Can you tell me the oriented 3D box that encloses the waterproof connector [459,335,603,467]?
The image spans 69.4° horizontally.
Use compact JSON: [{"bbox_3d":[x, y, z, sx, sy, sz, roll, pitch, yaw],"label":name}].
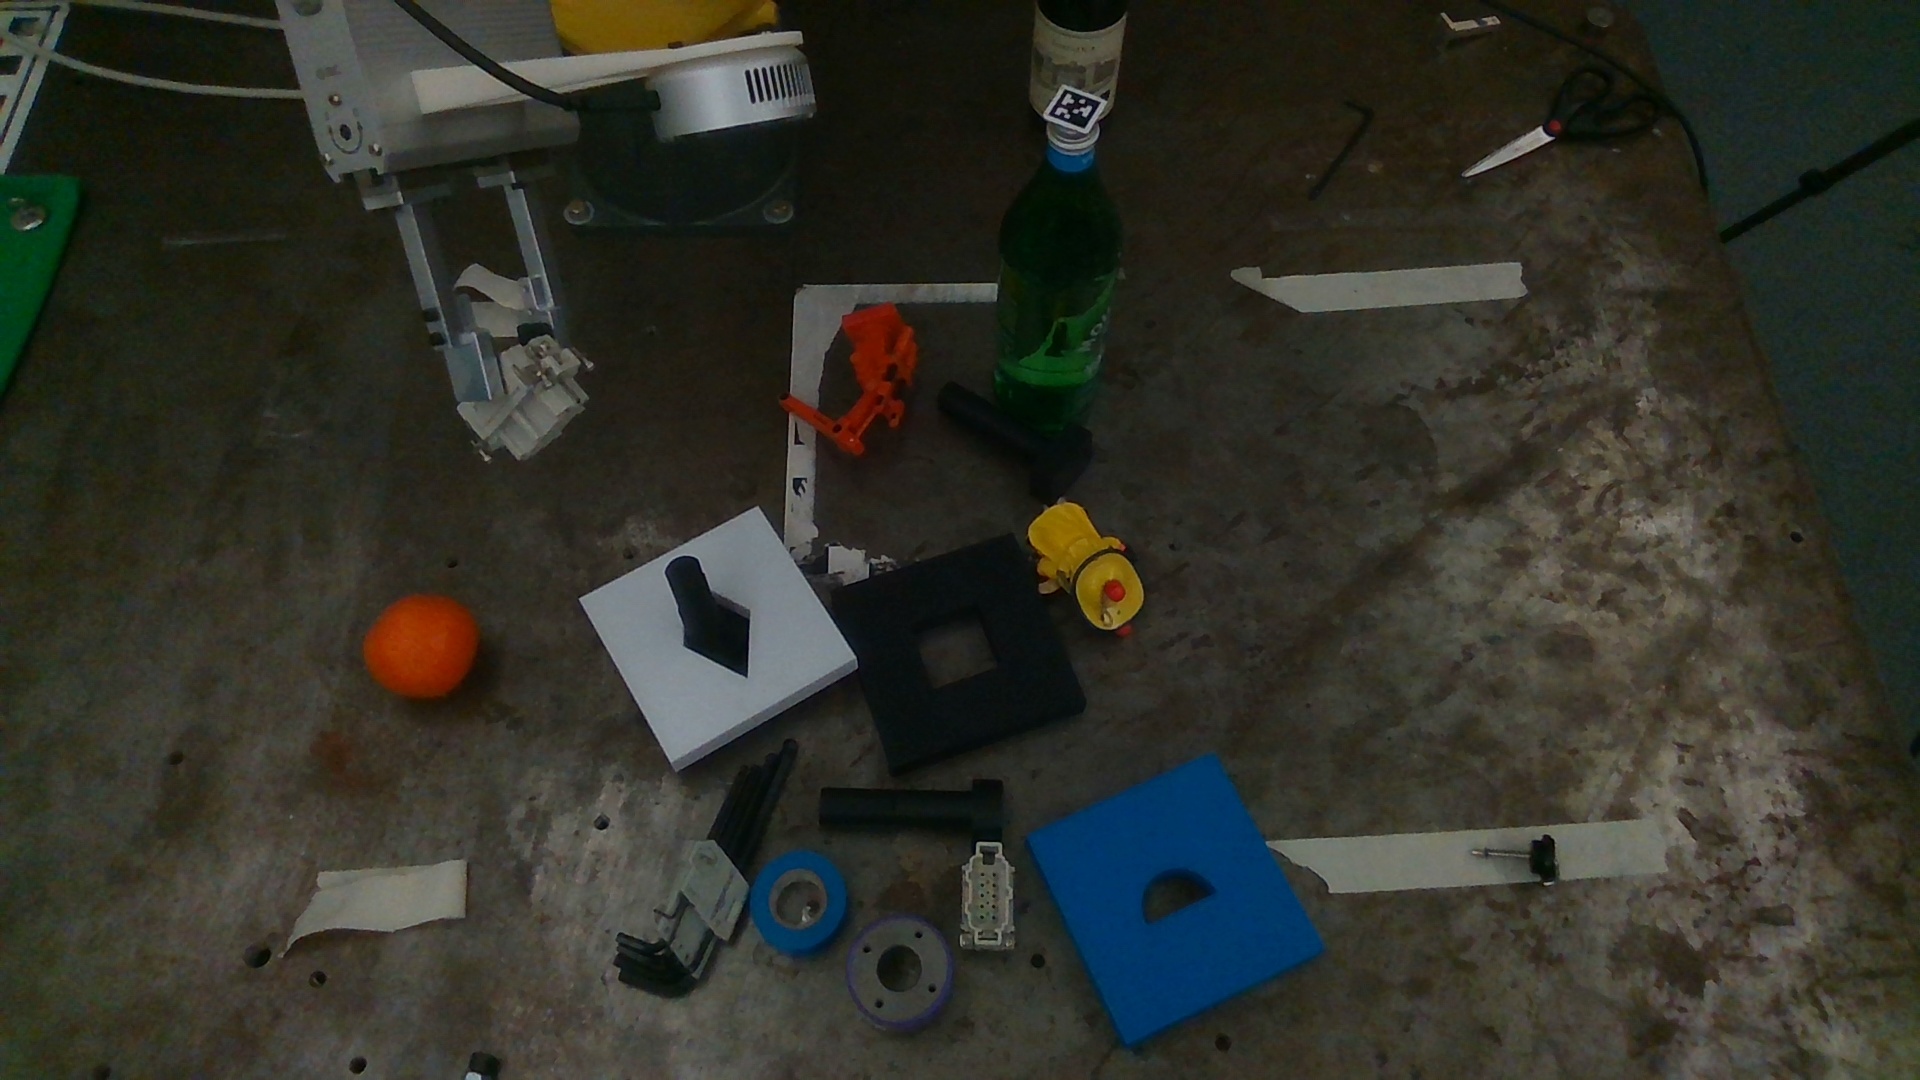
[{"bbox_3d":[-0.195,-0.062,0.631,0.038,0.069,0.036,51,30,-2],"label":"waterproof connector"}]
